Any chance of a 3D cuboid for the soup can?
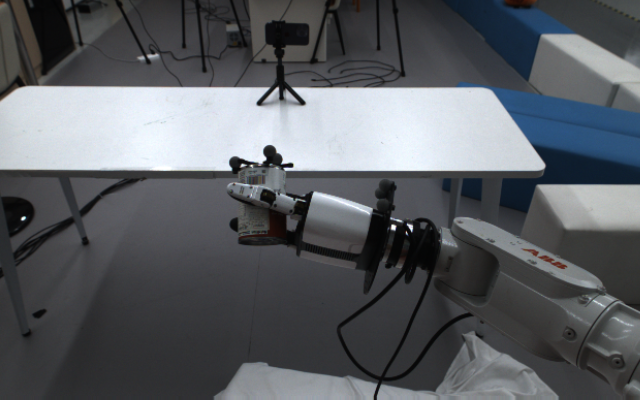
[{"bbox_3d":[-0.079,0.008,0.664,0.067,0.067,0.101,-1,76,-4],"label":"soup can"}]
